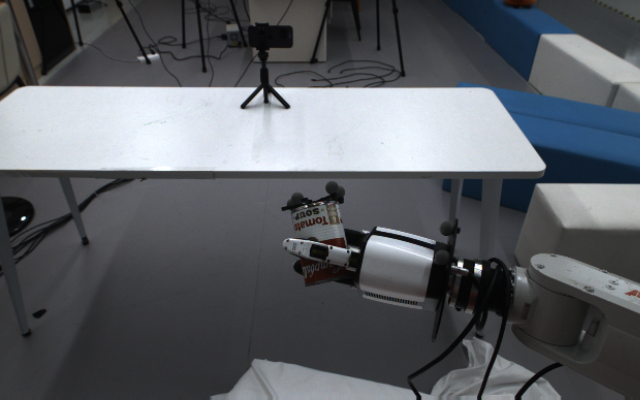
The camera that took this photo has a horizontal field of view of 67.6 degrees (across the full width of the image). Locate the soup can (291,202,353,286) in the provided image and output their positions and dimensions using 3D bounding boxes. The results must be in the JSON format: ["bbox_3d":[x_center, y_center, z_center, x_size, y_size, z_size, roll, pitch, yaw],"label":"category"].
[{"bbox_3d":[0.005,0.059,0.646,0.067,0.067,0.101,-10,80,-16],"label":"soup can"}]
